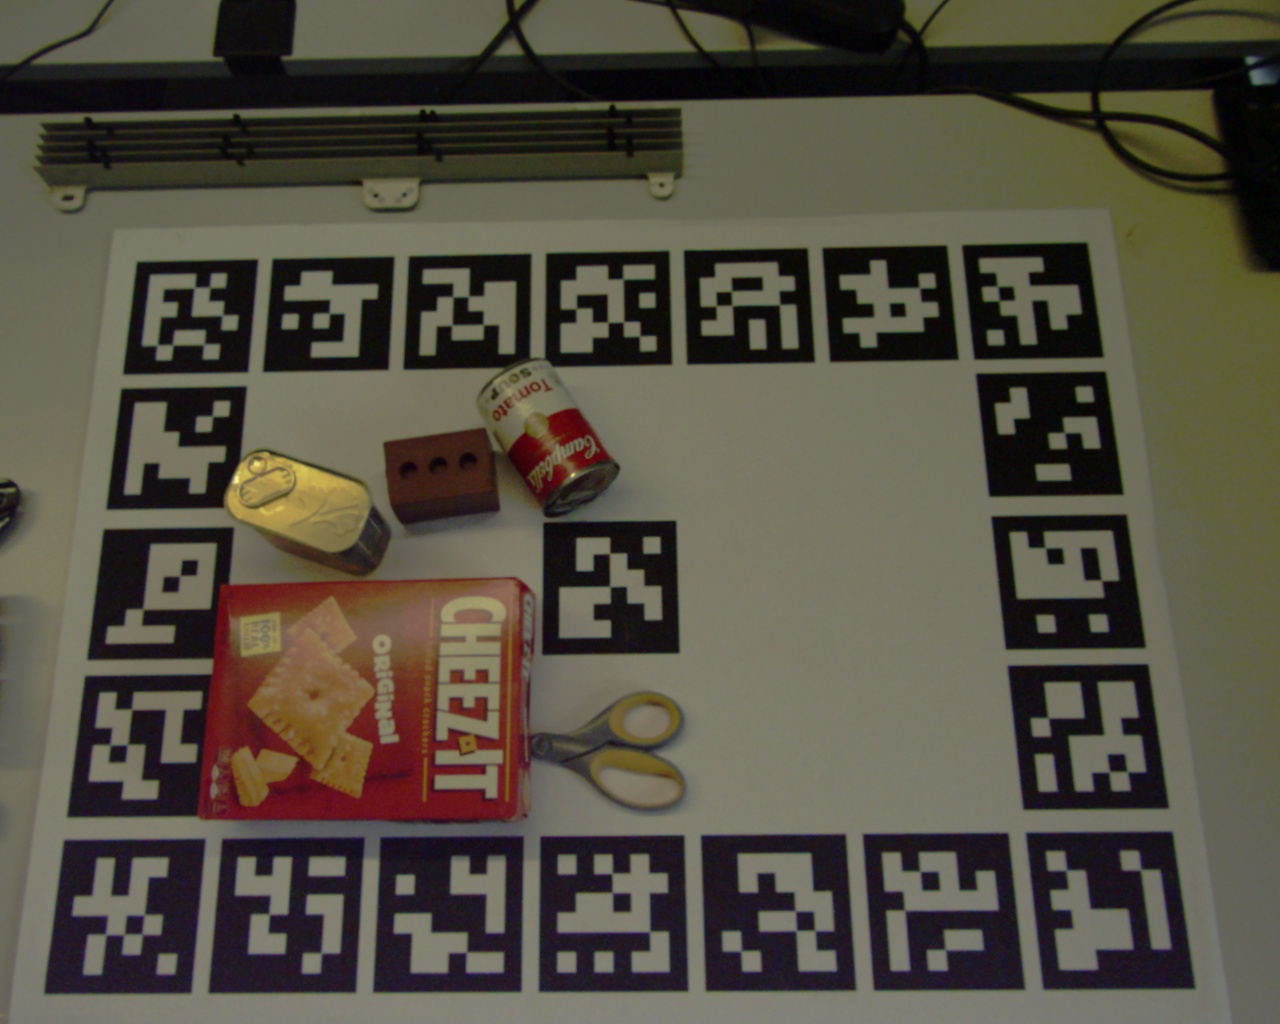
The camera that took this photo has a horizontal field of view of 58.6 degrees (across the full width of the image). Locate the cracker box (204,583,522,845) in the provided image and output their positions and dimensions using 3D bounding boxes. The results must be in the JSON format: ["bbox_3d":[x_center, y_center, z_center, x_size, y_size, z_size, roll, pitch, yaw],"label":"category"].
[{"bbox_3d":[-0.200,0.146,0.821,0.214,0.071,0.164,-7,74,4],"label":"cracker box"}]

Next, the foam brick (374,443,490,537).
[{"bbox_3d":[-0.160,-0.016,0.889,0.078,0.051,0.053,-11,76,-2],"label":"foam brick"}]

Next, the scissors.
[{"bbox_3d":[-0.084,0.185,0.839,0.203,0.016,0.088,-6,76,0],"label":"scissors"}]

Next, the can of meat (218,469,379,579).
[{"bbox_3d":[-0.255,0.012,0.864,0.102,0.083,0.058,13,77,4],"label":"can of meat"}]

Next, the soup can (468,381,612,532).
[{"bbox_3d":[-0.079,-0.044,0.893,0.068,0.067,0.103,-38,73,-8],"label":"soup can"}]
